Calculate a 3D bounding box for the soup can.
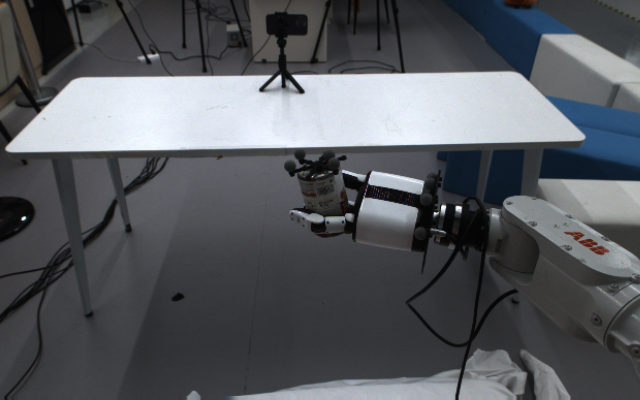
[{"bbox_3d":[0.010,-0.003,0.736,0.067,0.101,0.067,-11,27,6],"label":"soup can"}]
